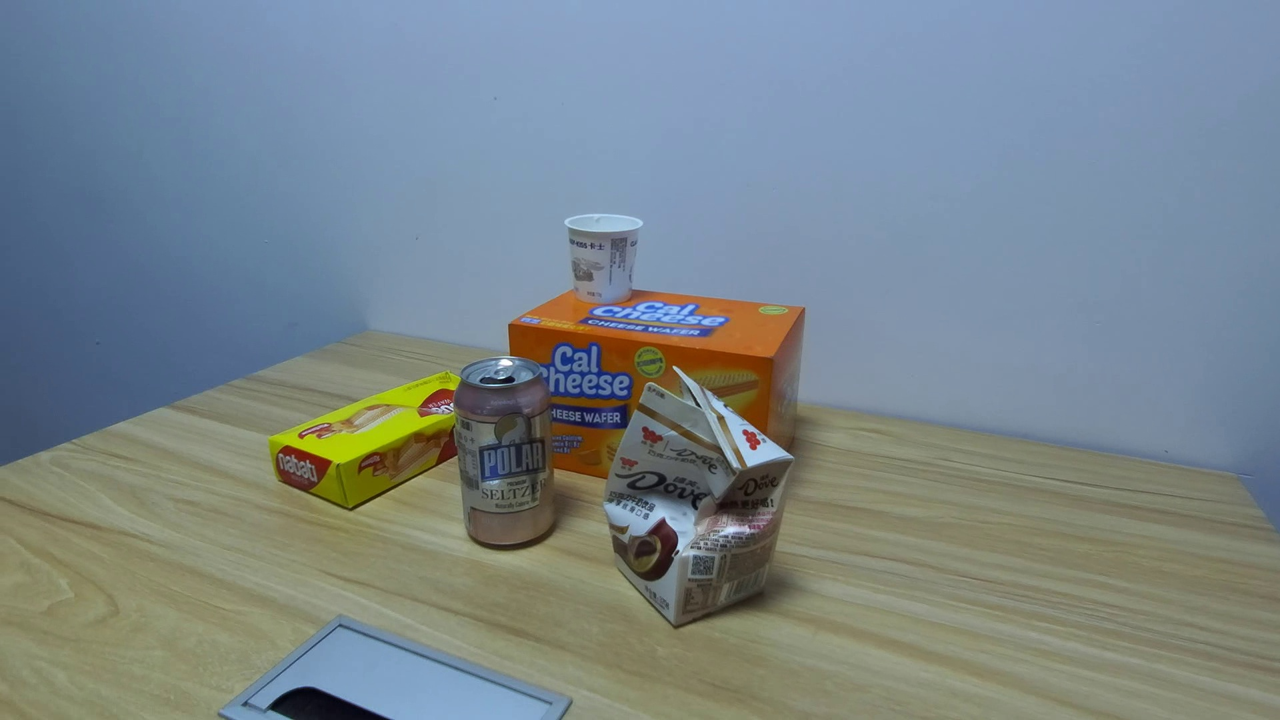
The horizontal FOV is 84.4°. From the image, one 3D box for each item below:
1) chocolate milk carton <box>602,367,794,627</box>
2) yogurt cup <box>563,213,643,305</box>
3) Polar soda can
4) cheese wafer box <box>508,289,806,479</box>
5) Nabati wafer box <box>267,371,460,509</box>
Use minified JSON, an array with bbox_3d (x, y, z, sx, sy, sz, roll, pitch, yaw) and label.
[{"bbox_3d":[0.034,0.082,0.429,0.077,0.155,0.089,-17,40,-30],"label":"chocolate milk carton"},{"bbox_3d":[-0.033,-0.091,0.638,0.072,0.068,0.072,2,22,0],"label":"yogurt cup"},{"bbox_3d":[-0.095,0.065,0.504,0.067,0.125,0.067,1,19,0],"label":"Polar soda can"},{"bbox_3d":[0.019,0.021,0.618,0.221,0.129,0.148,8,22,20],"label":"cheese wafer box"},{"bbox_3d":[-0.208,0.061,0.632,0.096,0.042,0.204,11,22,32],"label":"Nabati wafer box"}]
